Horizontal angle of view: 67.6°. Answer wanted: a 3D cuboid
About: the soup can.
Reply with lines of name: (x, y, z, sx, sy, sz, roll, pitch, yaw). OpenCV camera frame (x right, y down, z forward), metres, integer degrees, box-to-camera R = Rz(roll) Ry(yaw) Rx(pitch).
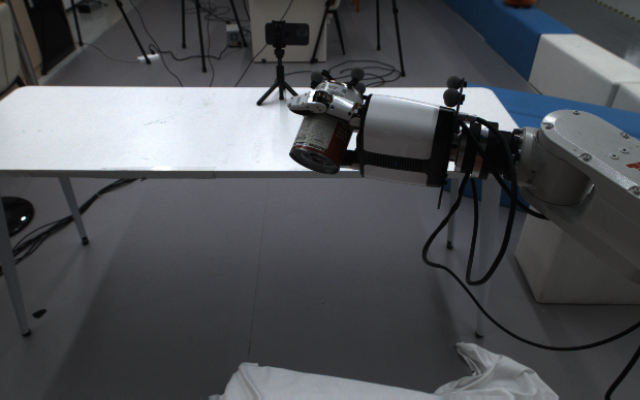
soup can: (0.010, -0.093, 0.623, 0.067, 0.067, 0.101, 15, 74, 18)
